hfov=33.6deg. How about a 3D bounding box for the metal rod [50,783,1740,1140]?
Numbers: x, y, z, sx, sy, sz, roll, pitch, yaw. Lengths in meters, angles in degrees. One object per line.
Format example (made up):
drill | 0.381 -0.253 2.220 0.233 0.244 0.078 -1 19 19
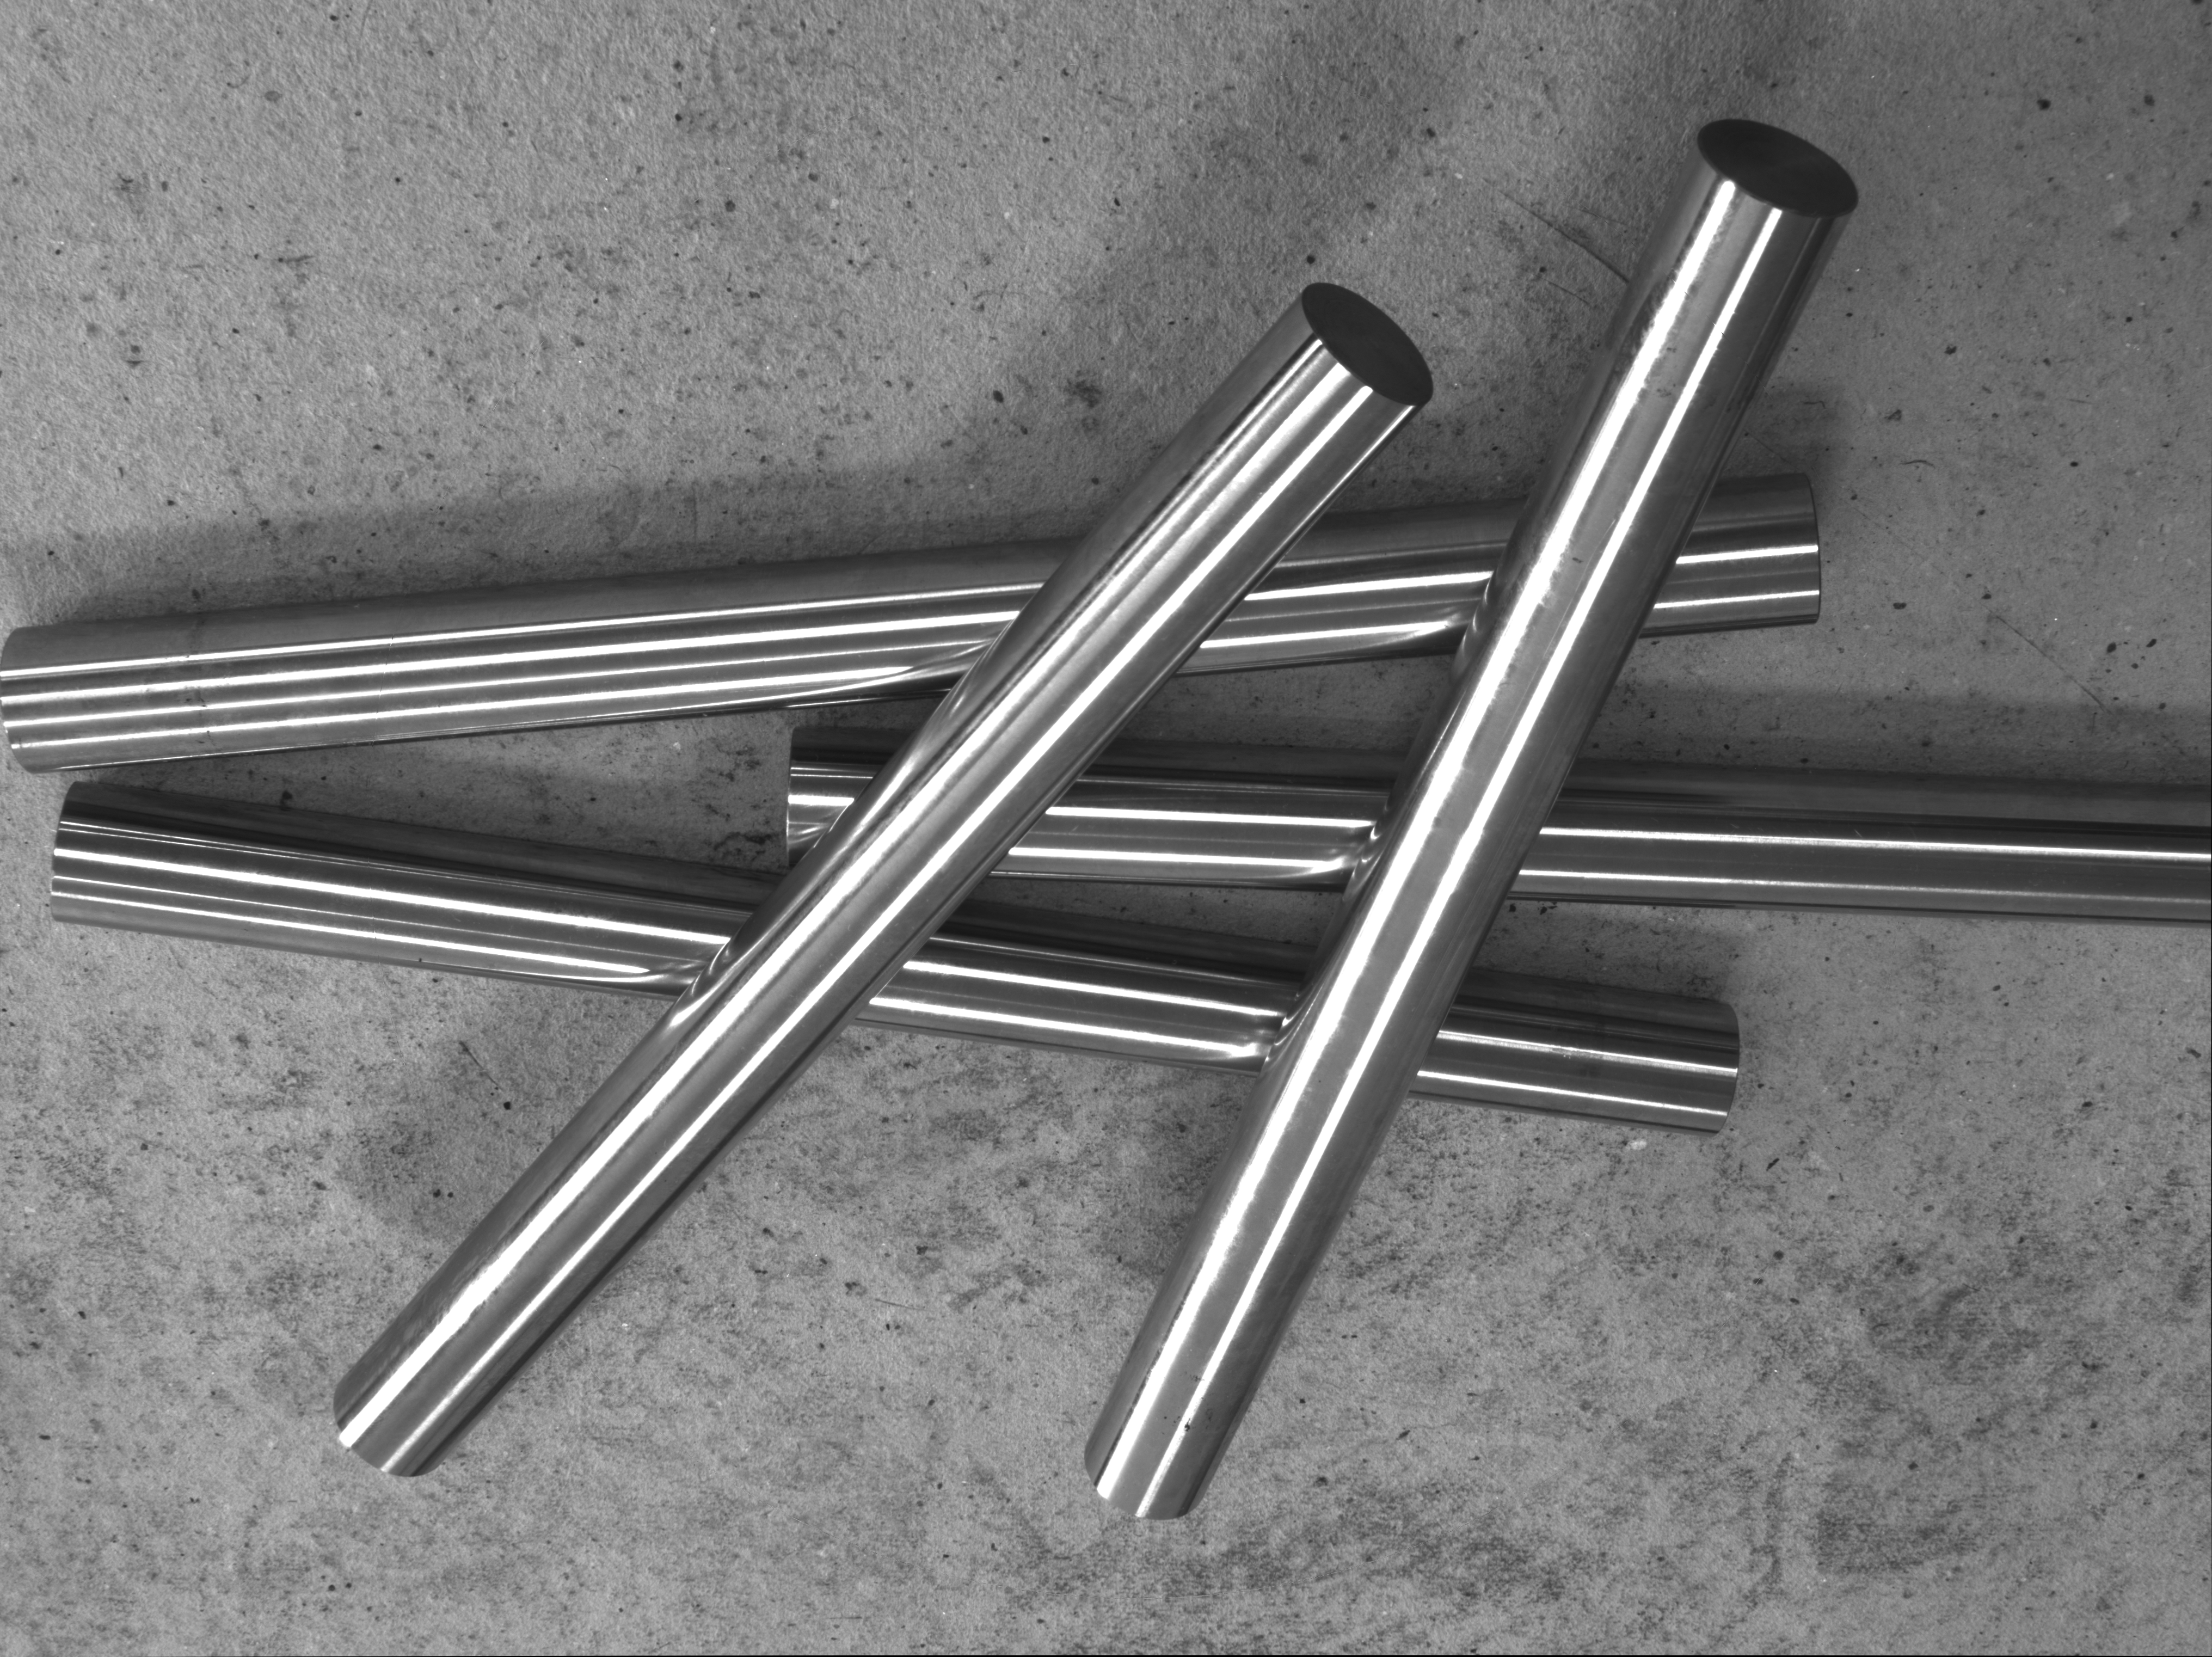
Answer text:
metal rod | -0.034 0.025 0.660 0.300 0.025 0.025 8 130 -7

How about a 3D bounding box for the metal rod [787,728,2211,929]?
metal rod | 0.095 0.001 0.640 0.300 0.025 0.025 2 130 -2

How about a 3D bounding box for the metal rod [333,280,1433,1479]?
metal rod | -0.049 0.020 0.624 0.025 0.025 0.299 29 124 -22

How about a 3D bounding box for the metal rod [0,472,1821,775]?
metal rod | -0.034 -0.034 0.611 0.300 0.025 0.025 -5 130 4

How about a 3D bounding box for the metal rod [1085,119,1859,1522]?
metal rod | 0.052 0.015 0.619 0.025 0.025 0.300 13 129 -11
